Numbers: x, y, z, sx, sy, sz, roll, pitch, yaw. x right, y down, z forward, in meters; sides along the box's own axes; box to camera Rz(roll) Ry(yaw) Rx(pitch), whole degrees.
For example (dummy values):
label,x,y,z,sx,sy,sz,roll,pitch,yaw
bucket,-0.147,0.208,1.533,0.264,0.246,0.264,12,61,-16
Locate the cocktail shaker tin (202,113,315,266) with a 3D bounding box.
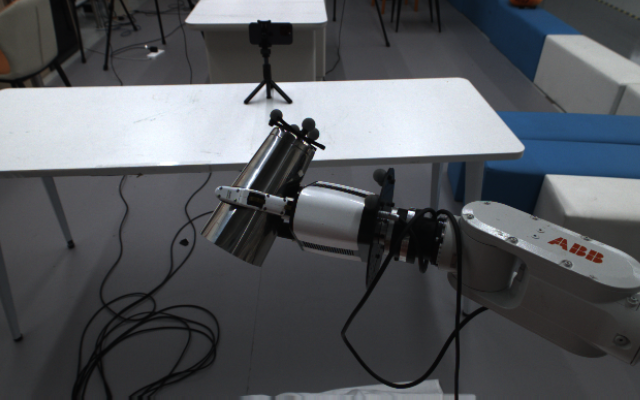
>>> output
label,x,y,z,sx,sy,sz,roll,pitch,yaw
cocktail shaker tin,-0.078,-0.008,0.647,0.093,0.093,0.170,26,83,30
